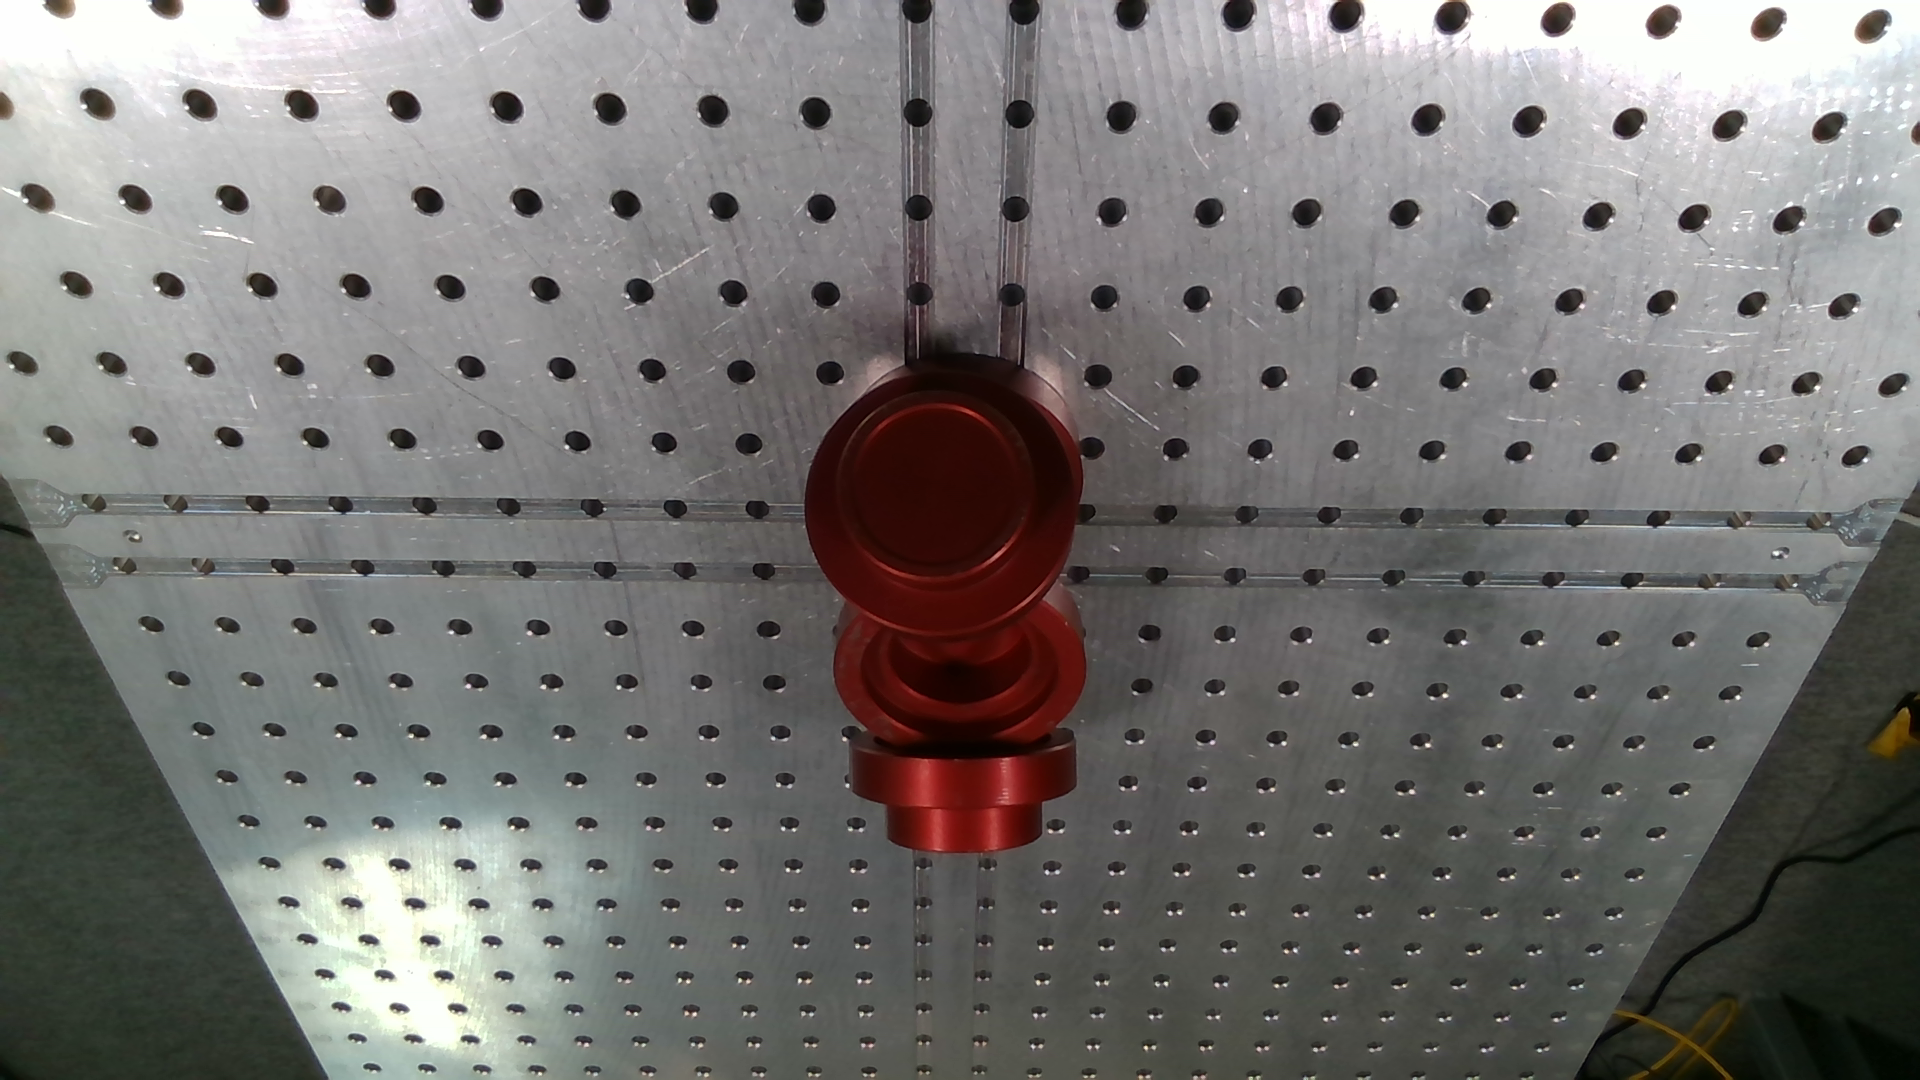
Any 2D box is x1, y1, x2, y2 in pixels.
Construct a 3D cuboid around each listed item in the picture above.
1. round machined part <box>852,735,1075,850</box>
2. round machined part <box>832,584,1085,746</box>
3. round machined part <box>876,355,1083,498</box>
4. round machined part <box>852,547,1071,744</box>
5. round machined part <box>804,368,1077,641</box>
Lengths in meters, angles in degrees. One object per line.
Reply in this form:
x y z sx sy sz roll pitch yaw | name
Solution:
0.001 0.106 0.594 0.098 0.098 0.042 0 89 0 | round machined part
0.000 0.039 0.548 0.098 0.042 0.098 0 130 0 | round machined part
0.000 -0.022 0.552 0.098 0.042 0.098 0 130 0 | round machined part
0.001 0.053 0.615 0.098 0.042 0.098 0 130 0 | round machined part
-0.007 -0.015 0.492 0.098 0.098 0.042 -4 167 4 | round machined part
